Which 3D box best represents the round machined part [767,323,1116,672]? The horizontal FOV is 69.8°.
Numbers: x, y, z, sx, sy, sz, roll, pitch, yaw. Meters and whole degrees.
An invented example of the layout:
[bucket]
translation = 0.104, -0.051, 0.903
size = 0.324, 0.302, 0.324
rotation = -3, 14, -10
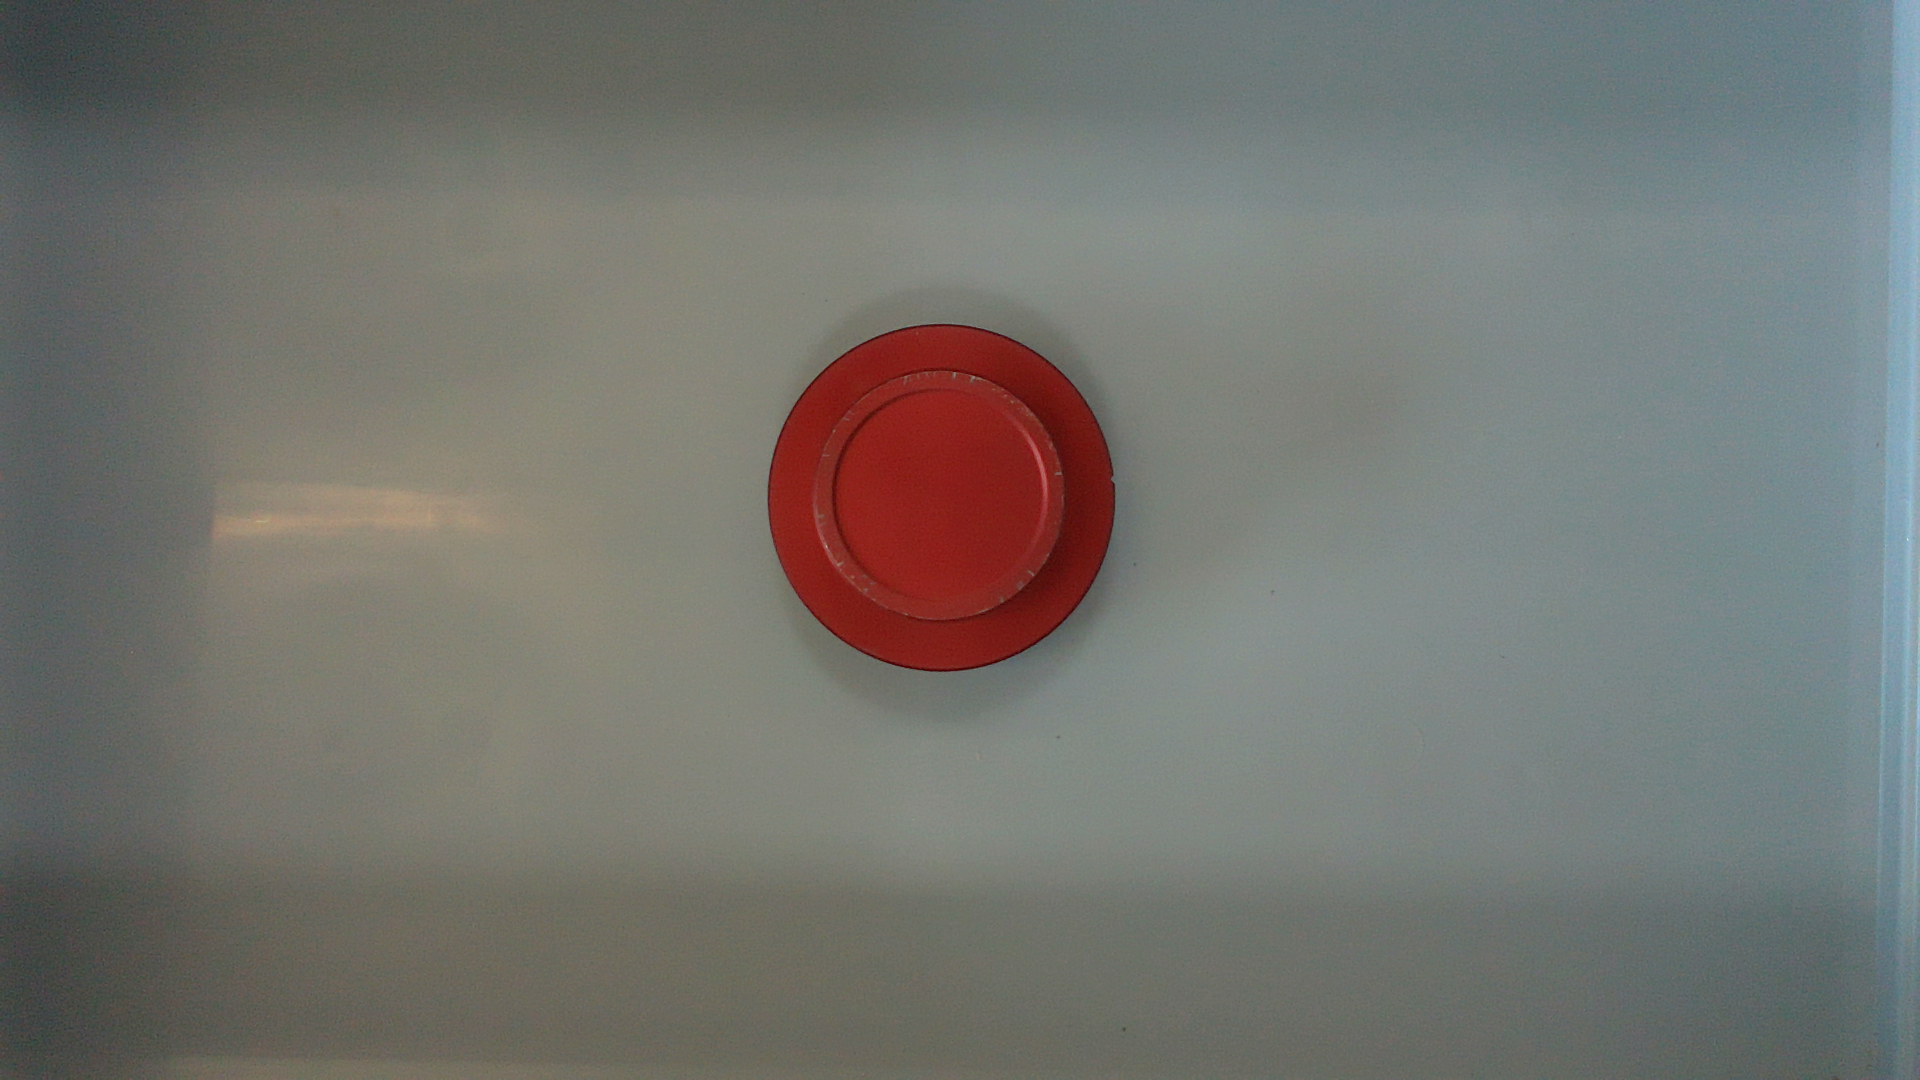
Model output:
[round machined part]
translation = -0.005, -0.012, 0.384
size = 0.098, 0.042, 0.098
rotation = 0, 90, 0
